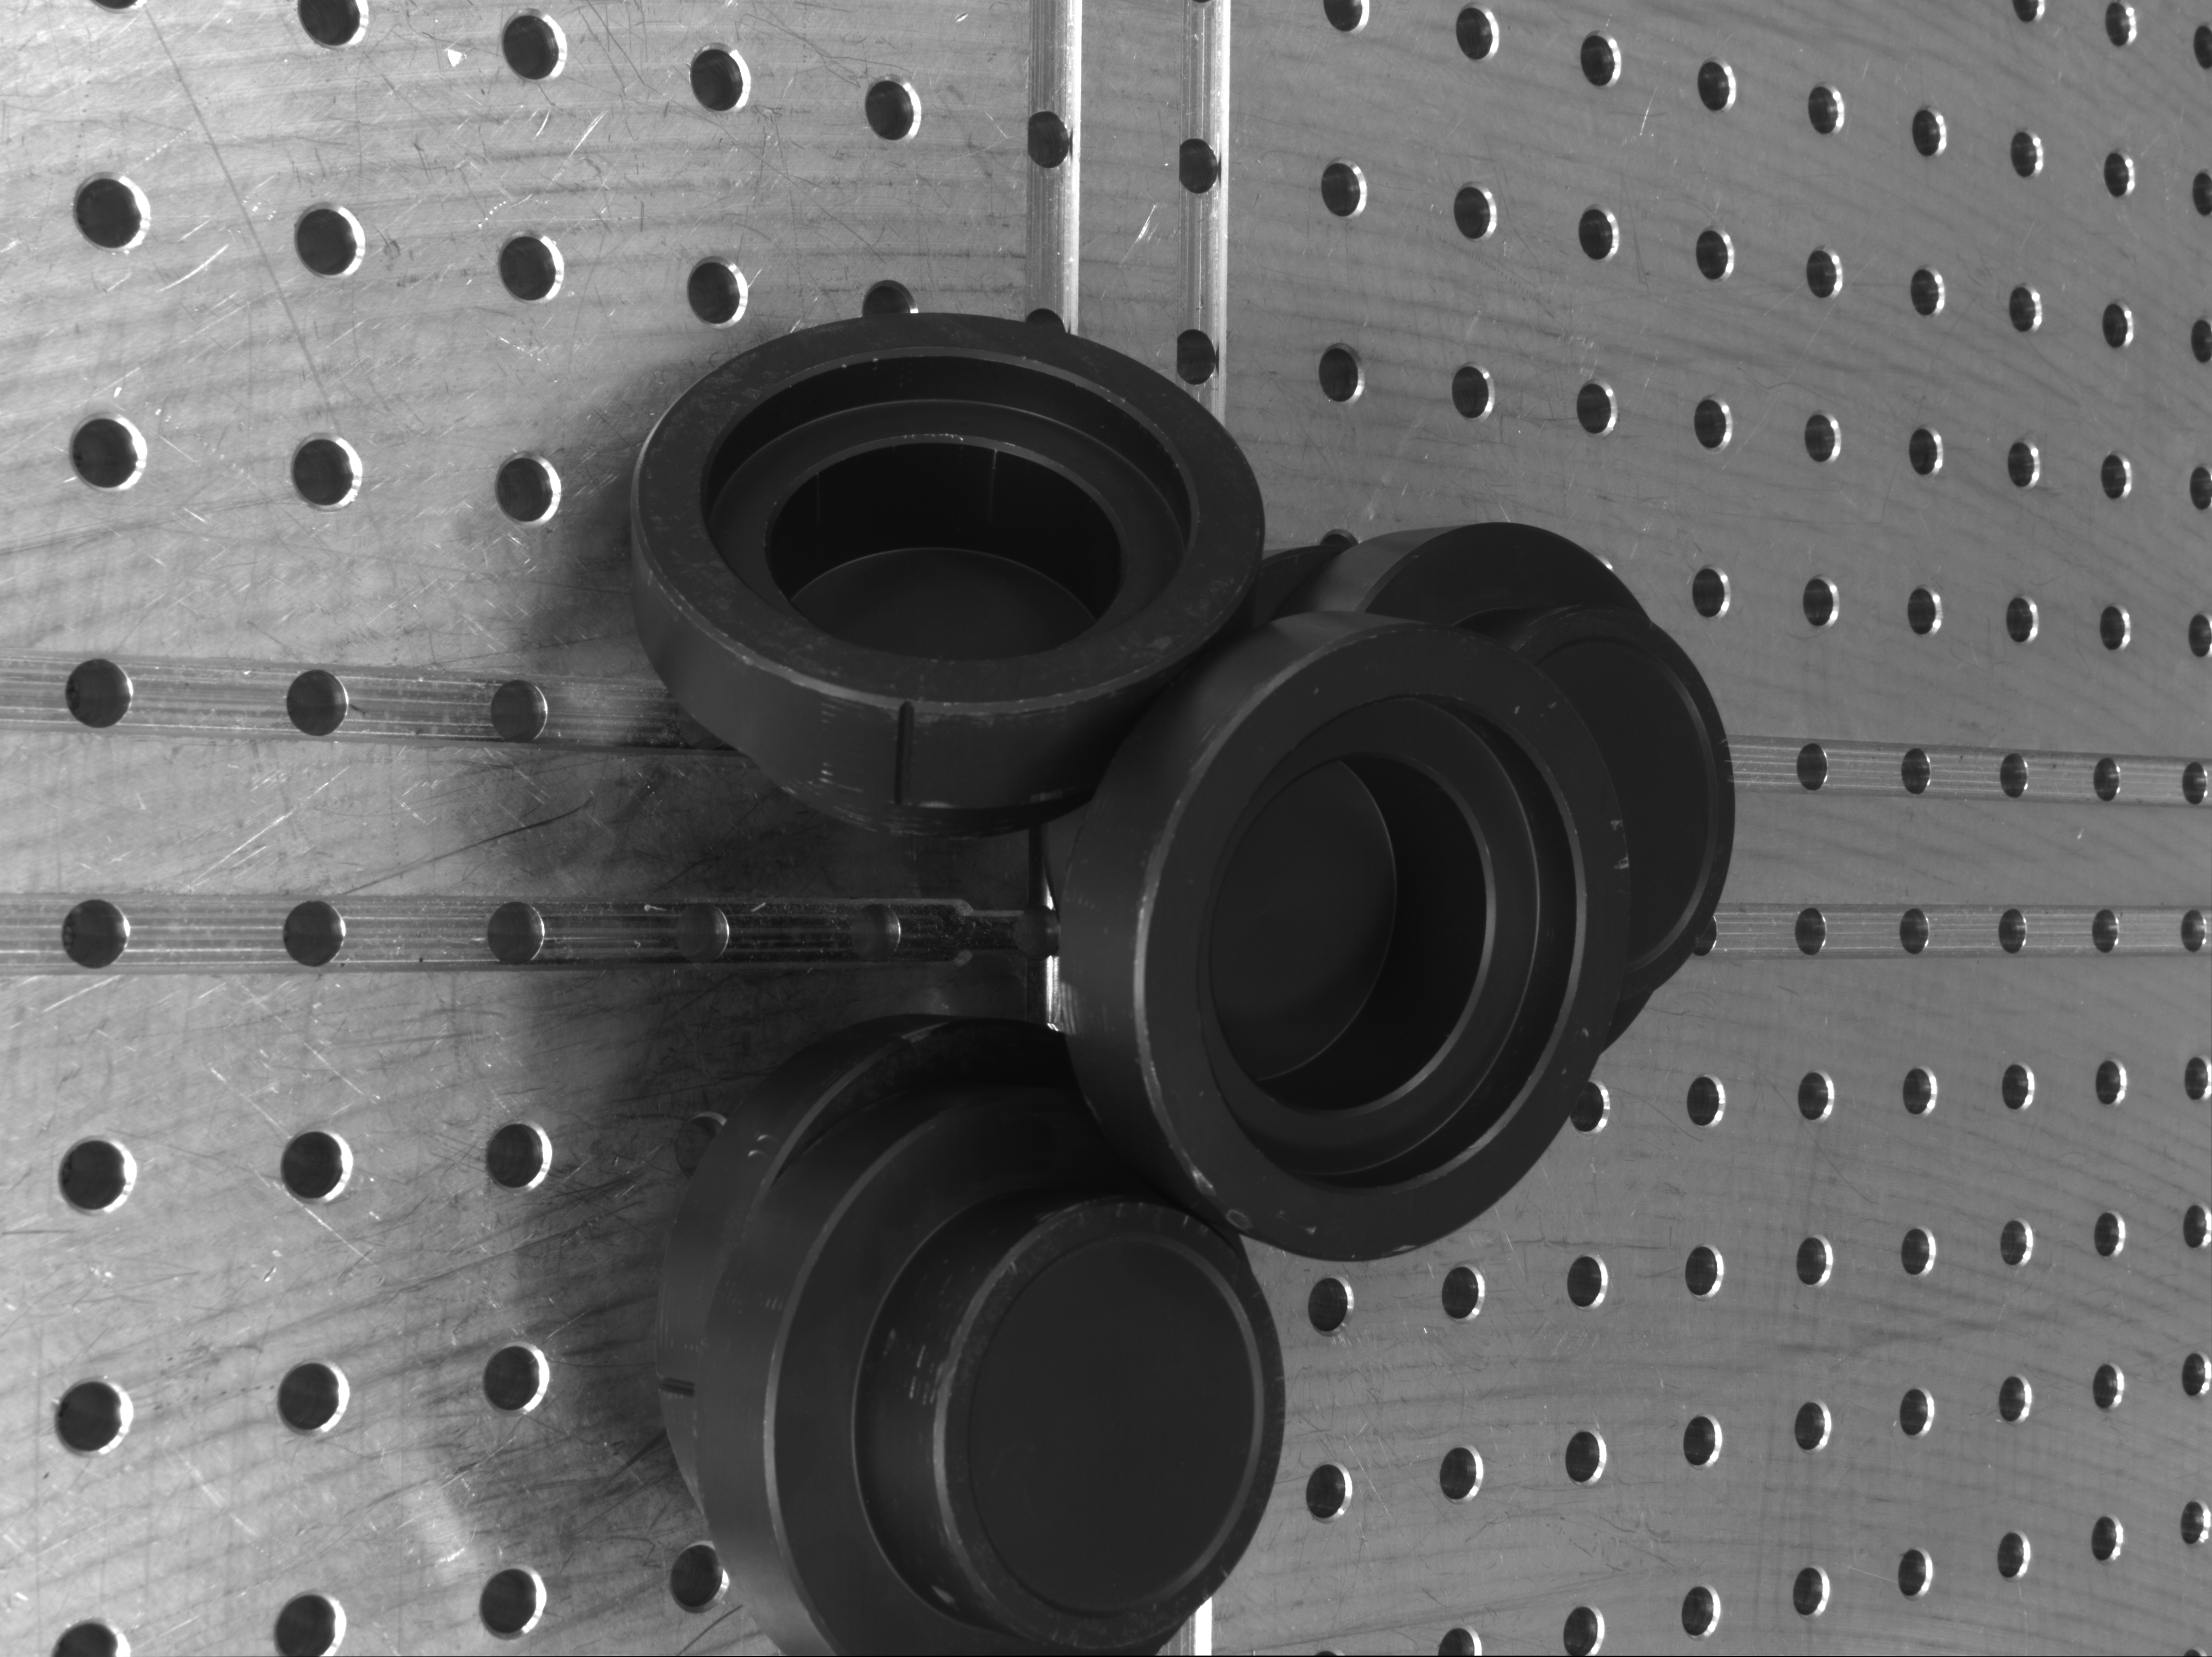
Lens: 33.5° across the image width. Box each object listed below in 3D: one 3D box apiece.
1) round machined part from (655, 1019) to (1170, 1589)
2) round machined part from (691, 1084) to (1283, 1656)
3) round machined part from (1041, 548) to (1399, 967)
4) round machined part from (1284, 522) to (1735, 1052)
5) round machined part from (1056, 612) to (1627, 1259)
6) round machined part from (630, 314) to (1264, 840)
[{"bbox_3d":[-0.019,0.079,0.585,0.098,0.042,0.098,0,90,-40],"label":"round machined part"},{"bbox_3d":[-0.011,0.089,0.564,0.098,0.042,0.098,0,90,-40],"label":"round machined part"},{"bbox_3d":[0.040,0.001,0.634,0.098,0.042,0.098,0,90,-40],"label":"round machined part"},{"bbox_3d":[0.070,-0.004,0.631,0.098,0.042,0.098,1,89,-40],"label":"round machined part"},{"bbox_3d":[0.032,0.014,0.572,0.098,0.042,0.098,-7,102,-36],"label":"round machined part"},{"bbox_3d":[-0.026,-0.036,0.582,0.098,0.098,0.042,-34,146,-34],"label":"round machined part"}]
